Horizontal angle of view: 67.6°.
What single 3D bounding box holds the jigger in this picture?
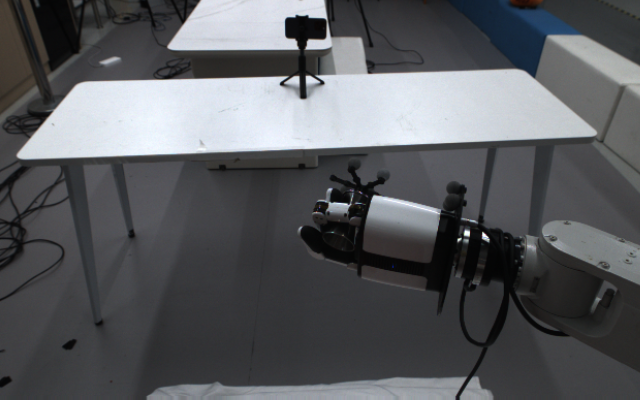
[{"bbox_3d":[0.037,0.023,0.613,0.043,0.043,0.071,15,58,18],"label":"jigger"}]
